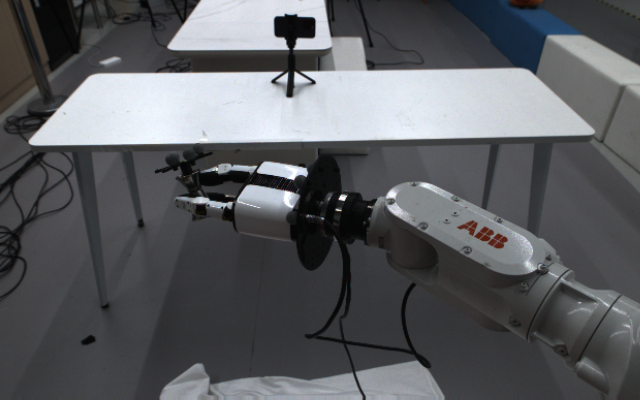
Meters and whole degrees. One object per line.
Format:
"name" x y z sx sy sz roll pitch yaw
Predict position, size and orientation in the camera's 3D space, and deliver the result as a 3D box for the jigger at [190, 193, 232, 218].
"jigger" -0.180 -0.009 0.723 0.043 0.071 0.043 -19 15 5
